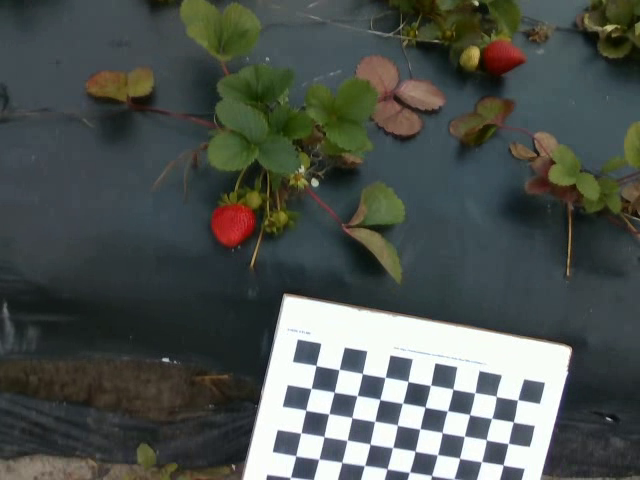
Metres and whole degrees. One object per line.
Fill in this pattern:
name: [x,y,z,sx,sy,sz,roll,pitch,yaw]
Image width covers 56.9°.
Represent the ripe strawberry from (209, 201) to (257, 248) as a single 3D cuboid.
ripe strawberry: [-0.024,-0.004,0.163,0.018,0.017,0.014,18,-42,-16]
